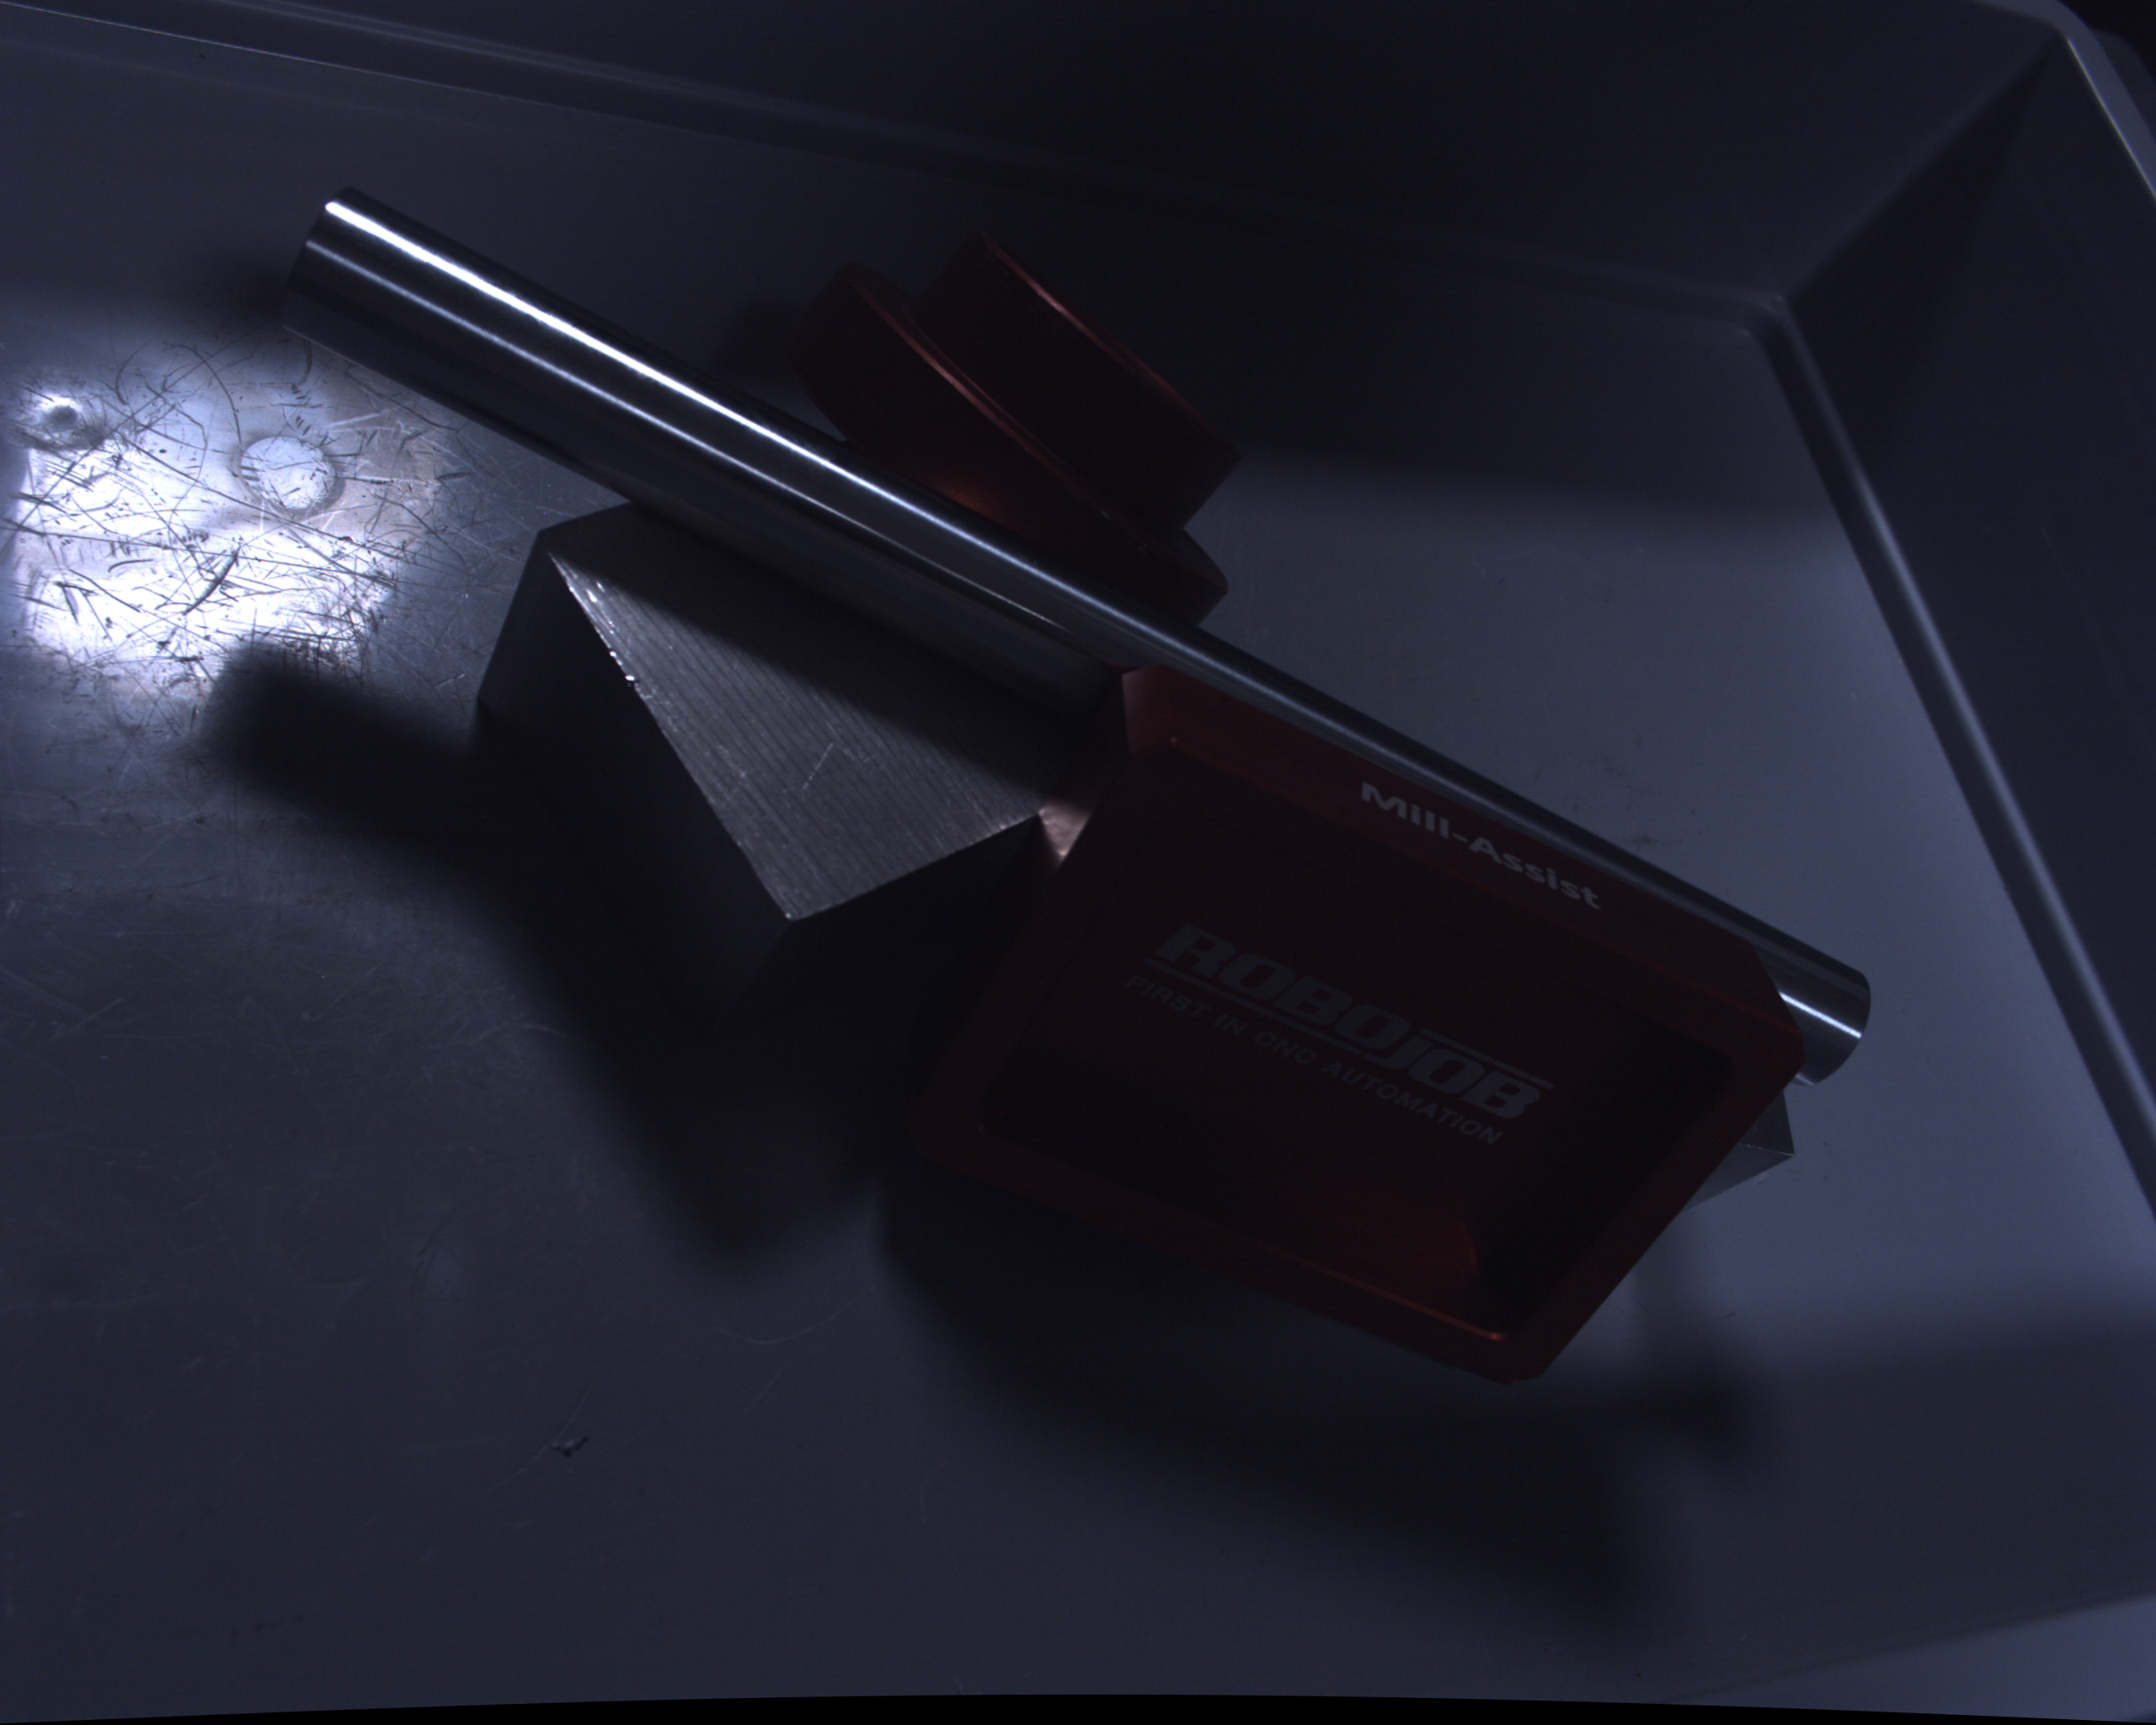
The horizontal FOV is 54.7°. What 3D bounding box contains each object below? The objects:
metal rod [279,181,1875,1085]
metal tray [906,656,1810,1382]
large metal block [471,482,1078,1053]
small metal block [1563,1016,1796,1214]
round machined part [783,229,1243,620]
[{"bbox_3d":[0.011,-0.033,0.365,0.301,0.025,0.025,26,53,-13],"label":"metal rod"},{"bbox_3d":[0.047,0.031,0.366,0.131,0.089,0.030,24,25,-15],"label":"metal tray"},{"bbox_3d":[-0.049,-0.024,0.377,0.081,0.050,0.080,-25,76,-37],"label":"large metal block"},{"bbox_3d":[0.115,0.043,0.425,0.025,0.050,0.050,14,56,-21],"label":"small metal block"},{"bbox_3d":[-0.007,-0.086,0.410,0.098,0.042,0.098,39,13,-10],"label":"round machined part"}]
